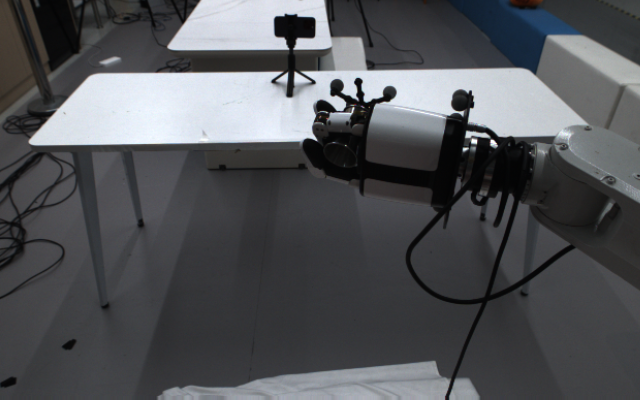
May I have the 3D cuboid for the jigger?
[{"bbox_3d":[0.038,-0.079,0.591,0.043,0.043,0.071,13,58,16],"label":"jigger"}]
